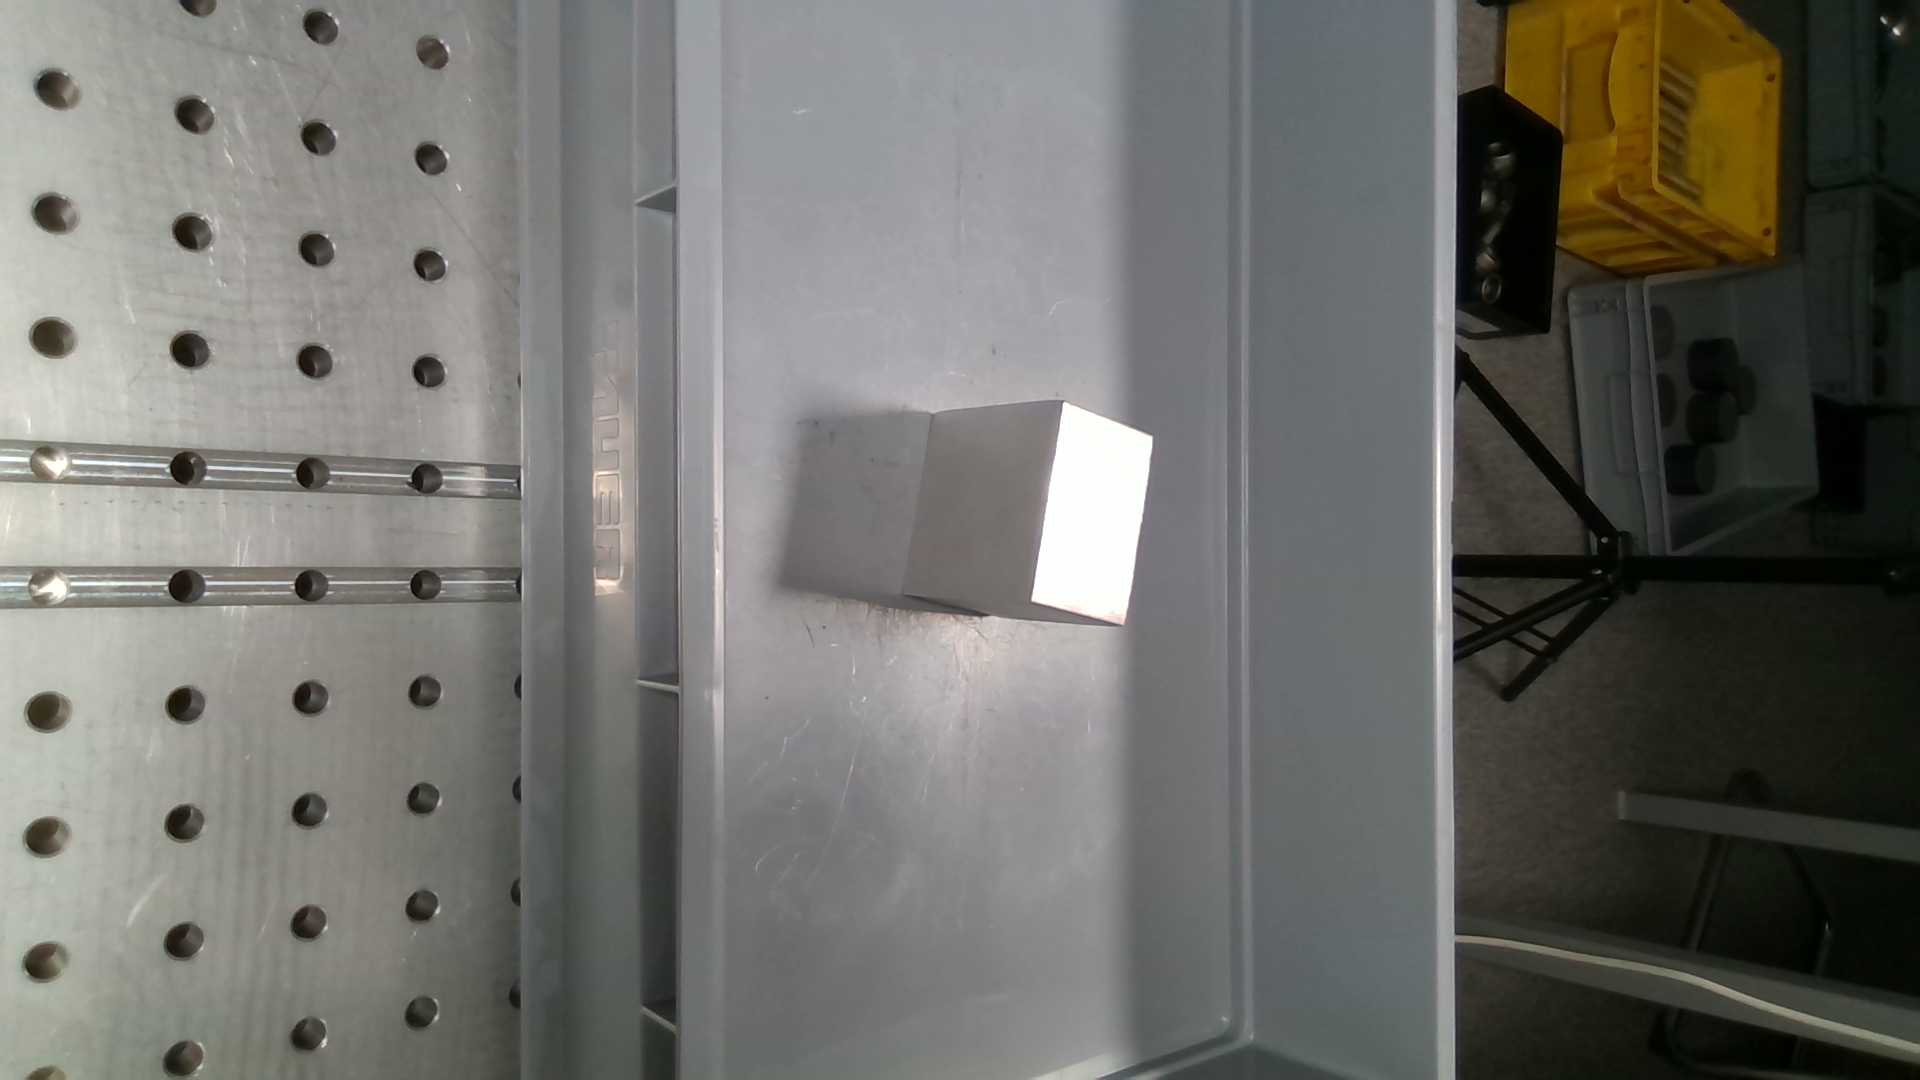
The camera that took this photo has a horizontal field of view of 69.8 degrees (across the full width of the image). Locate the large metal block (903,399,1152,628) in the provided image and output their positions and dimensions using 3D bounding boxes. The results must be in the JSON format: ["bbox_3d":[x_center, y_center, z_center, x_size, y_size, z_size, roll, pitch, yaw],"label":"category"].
[{"bbox_3d":[0.027,-0.009,0.567,0.050,0.080,0.080,16,80,-39],"label":"large metal block"}]
